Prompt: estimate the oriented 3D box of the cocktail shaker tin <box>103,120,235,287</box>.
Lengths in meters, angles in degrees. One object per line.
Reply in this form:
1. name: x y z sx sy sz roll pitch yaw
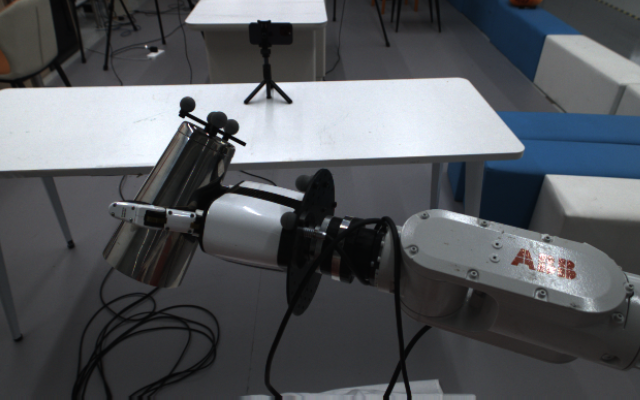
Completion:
1. cocktail shaker tin: -0.162 -0.001 0.547 0.093 0.170 0.093 27 2 -1
